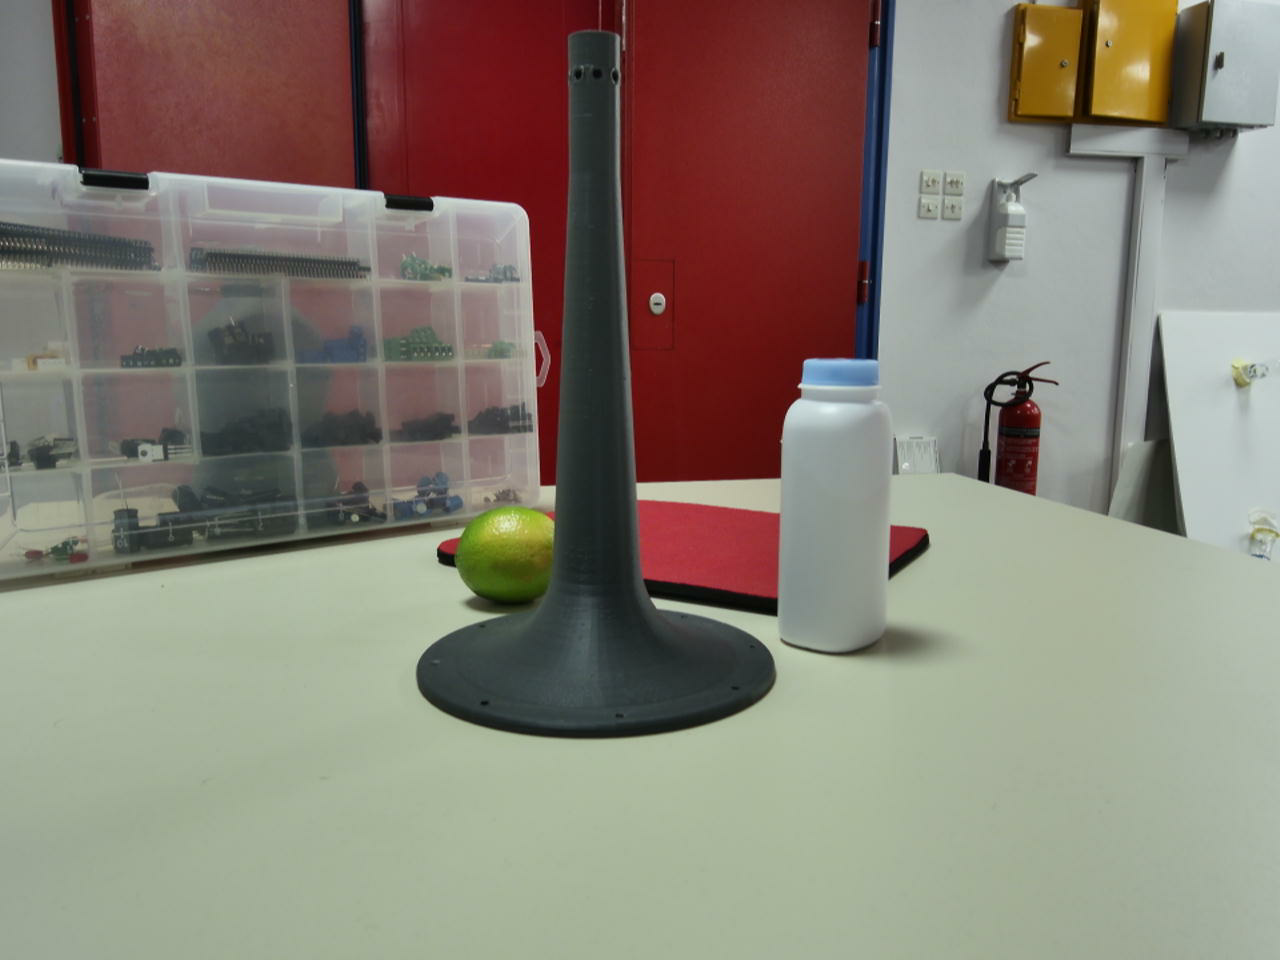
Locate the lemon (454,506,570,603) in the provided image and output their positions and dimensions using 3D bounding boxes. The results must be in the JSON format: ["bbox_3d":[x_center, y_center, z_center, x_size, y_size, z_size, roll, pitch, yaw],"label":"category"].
[{"bbox_3d":[-0.068,0.038,0.528,0.055,0.050,0.054,4,9,37],"label":"lemon"}]
